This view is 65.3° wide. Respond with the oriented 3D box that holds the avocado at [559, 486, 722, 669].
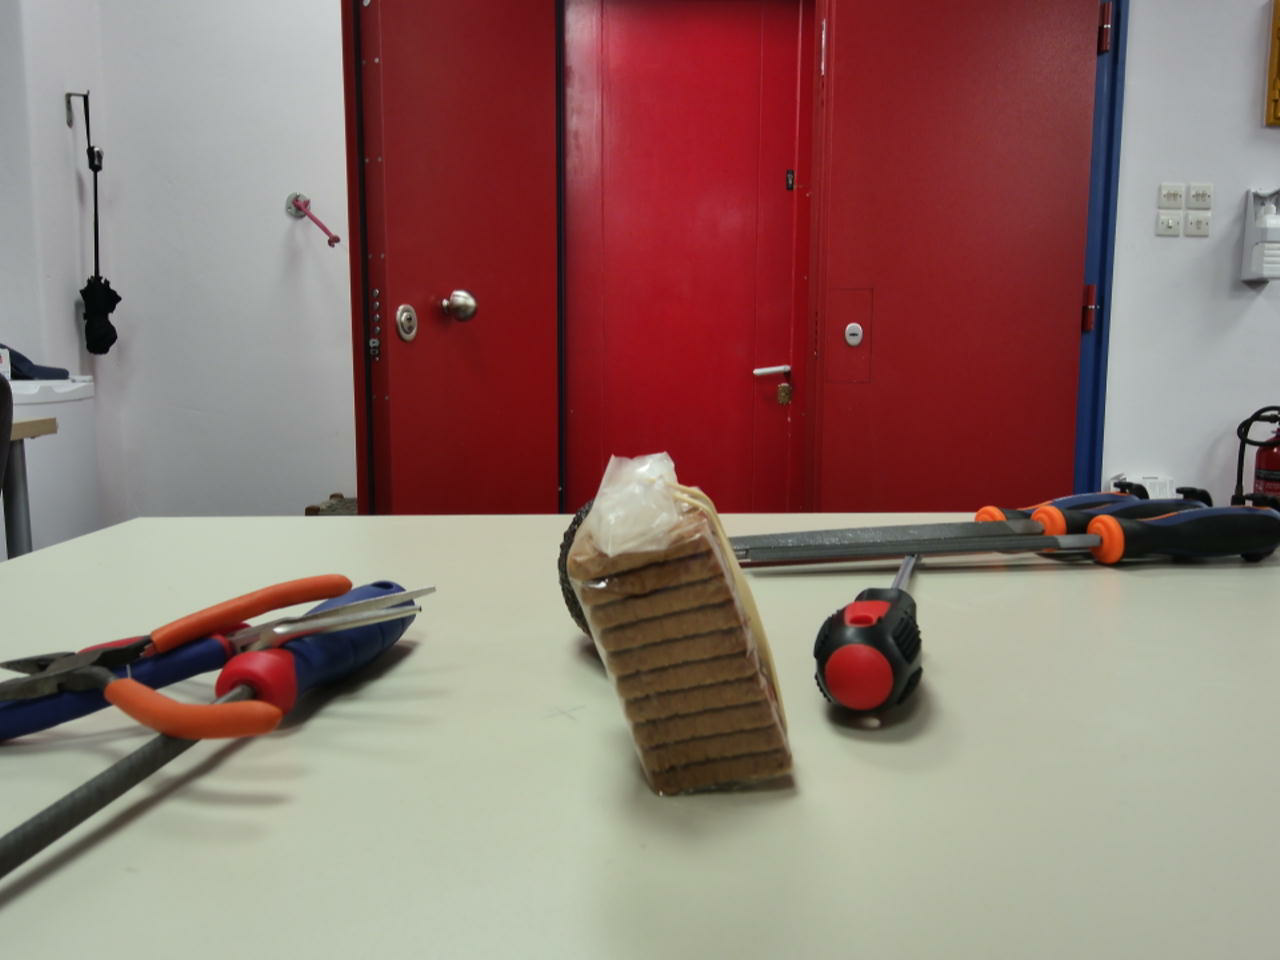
[{"bbox_3d":[-0.002,0.038,0.419,0.070,0.069,0.090,2,4,24],"label":"avocado"}]
